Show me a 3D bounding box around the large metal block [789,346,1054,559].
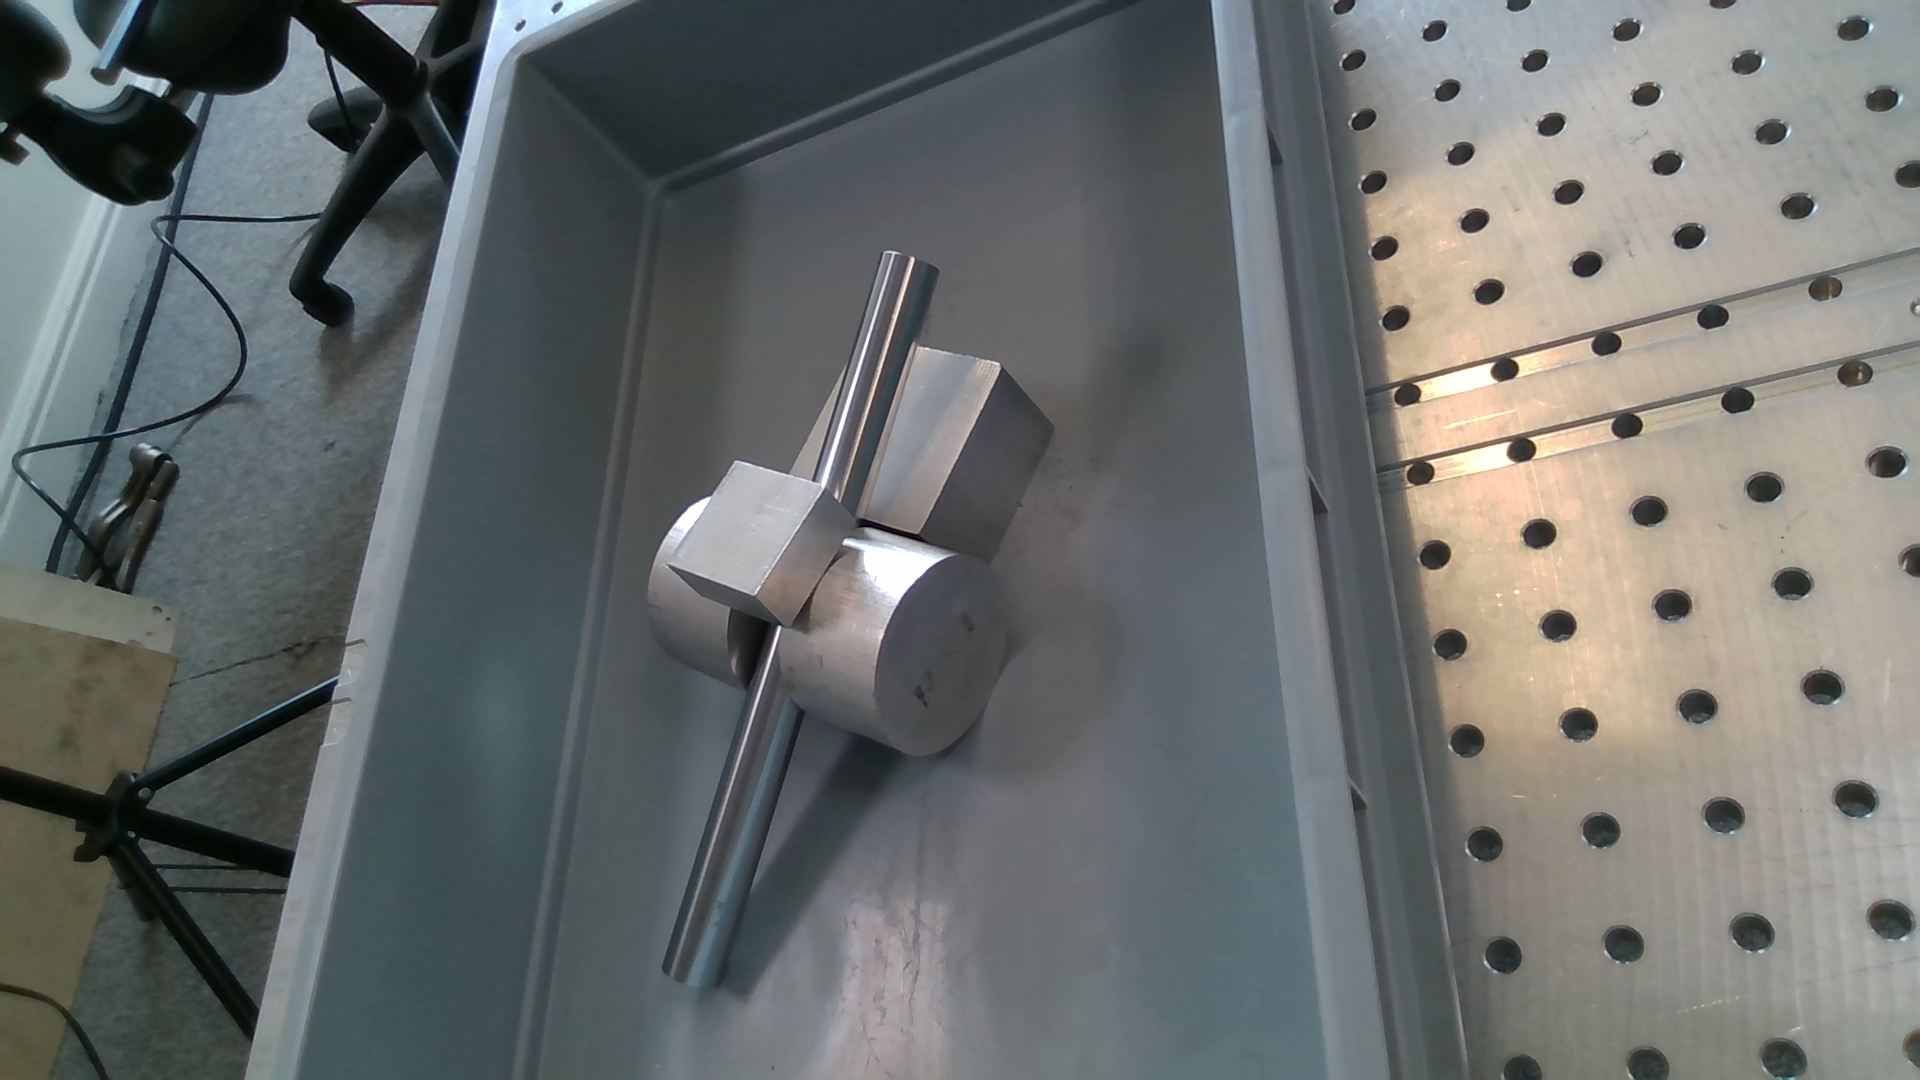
[{"bbox_3d":[-0.018,-0.036,0.596,0.080,0.050,0.080,17,75,37],"label":"large metal block"}]

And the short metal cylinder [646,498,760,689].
[{"bbox_3d":[-0.086,0.023,0.590,0.050,0.080,0.080,18,76,37],"label":"short metal cylinder"}]

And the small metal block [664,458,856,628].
[{"bbox_3d":[-0.077,0.000,0.530,0.050,0.025,0.050,17,67,37],"label":"small metal block"}]

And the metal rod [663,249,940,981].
[{"bbox_3d":[-0.064,0.031,0.557,0.025,0.025,0.300,18,91,37],"label":"metal rod"}]

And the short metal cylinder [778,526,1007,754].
[{"bbox_3d":[-0.026,0.039,0.545,0.050,0.080,0.080,15,74,36],"label":"short metal cylinder"}]
